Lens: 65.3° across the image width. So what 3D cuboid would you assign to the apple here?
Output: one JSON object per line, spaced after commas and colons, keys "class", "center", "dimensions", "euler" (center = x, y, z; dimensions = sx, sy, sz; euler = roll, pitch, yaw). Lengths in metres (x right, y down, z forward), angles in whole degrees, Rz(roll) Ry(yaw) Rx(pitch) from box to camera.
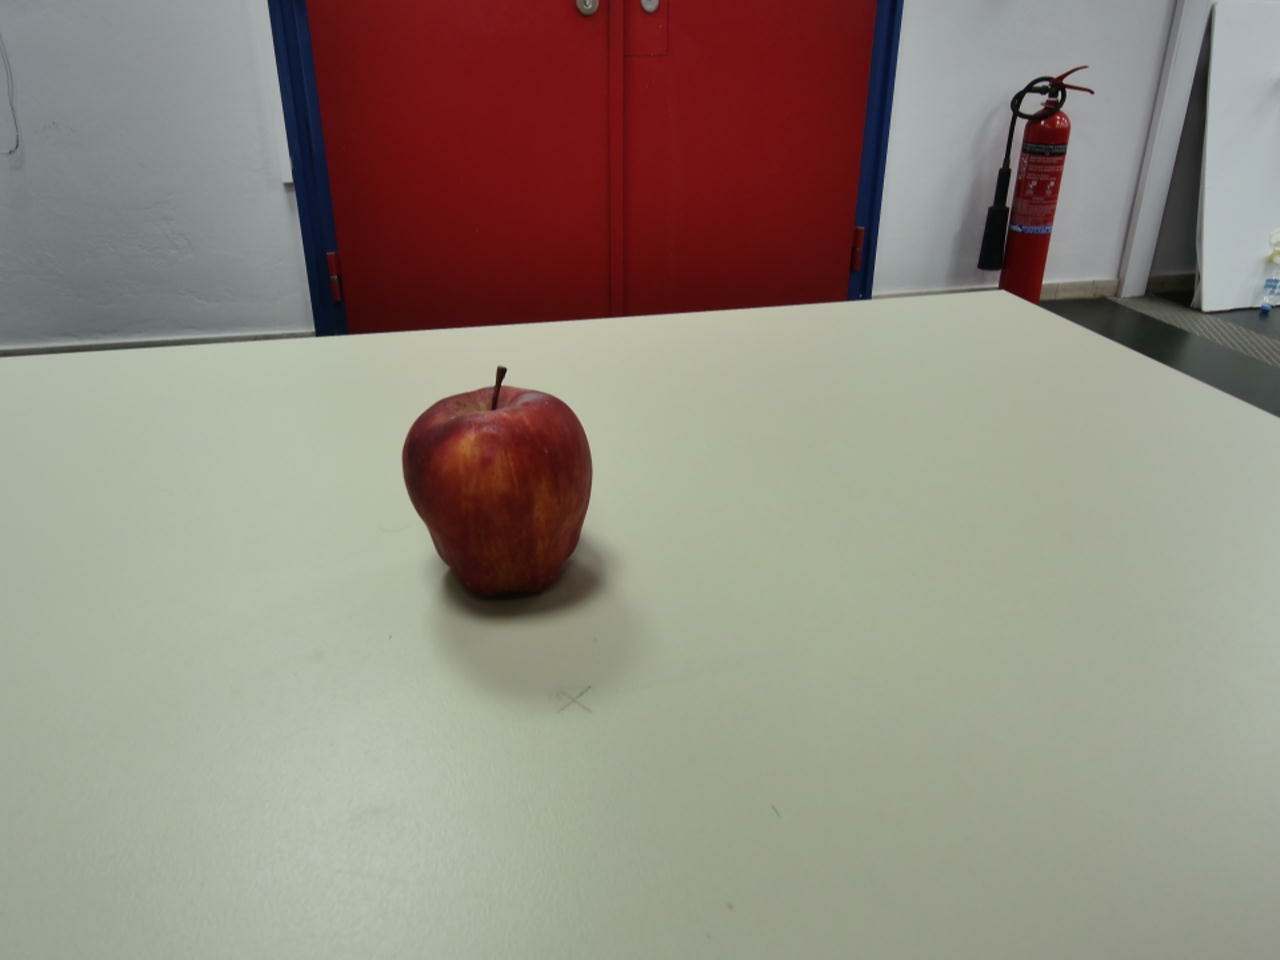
{"class": "apple", "center": [-0.059, -0.002, 0.413], "dimensions": [0.083, 0.090, 0.083], "euler": [1, 24, -1]}
